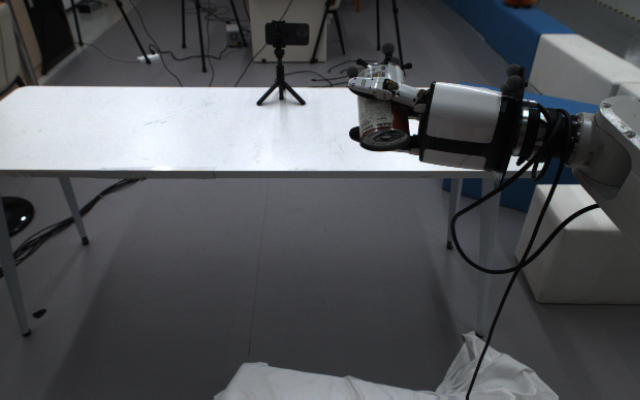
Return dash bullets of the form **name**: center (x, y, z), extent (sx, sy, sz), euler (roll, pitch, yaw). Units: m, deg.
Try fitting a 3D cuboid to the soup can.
- **soup can**: center (0.085, -0.127, 0.658), extent (0.067, 0.067, 0.101), euler (0, 72, -4)
